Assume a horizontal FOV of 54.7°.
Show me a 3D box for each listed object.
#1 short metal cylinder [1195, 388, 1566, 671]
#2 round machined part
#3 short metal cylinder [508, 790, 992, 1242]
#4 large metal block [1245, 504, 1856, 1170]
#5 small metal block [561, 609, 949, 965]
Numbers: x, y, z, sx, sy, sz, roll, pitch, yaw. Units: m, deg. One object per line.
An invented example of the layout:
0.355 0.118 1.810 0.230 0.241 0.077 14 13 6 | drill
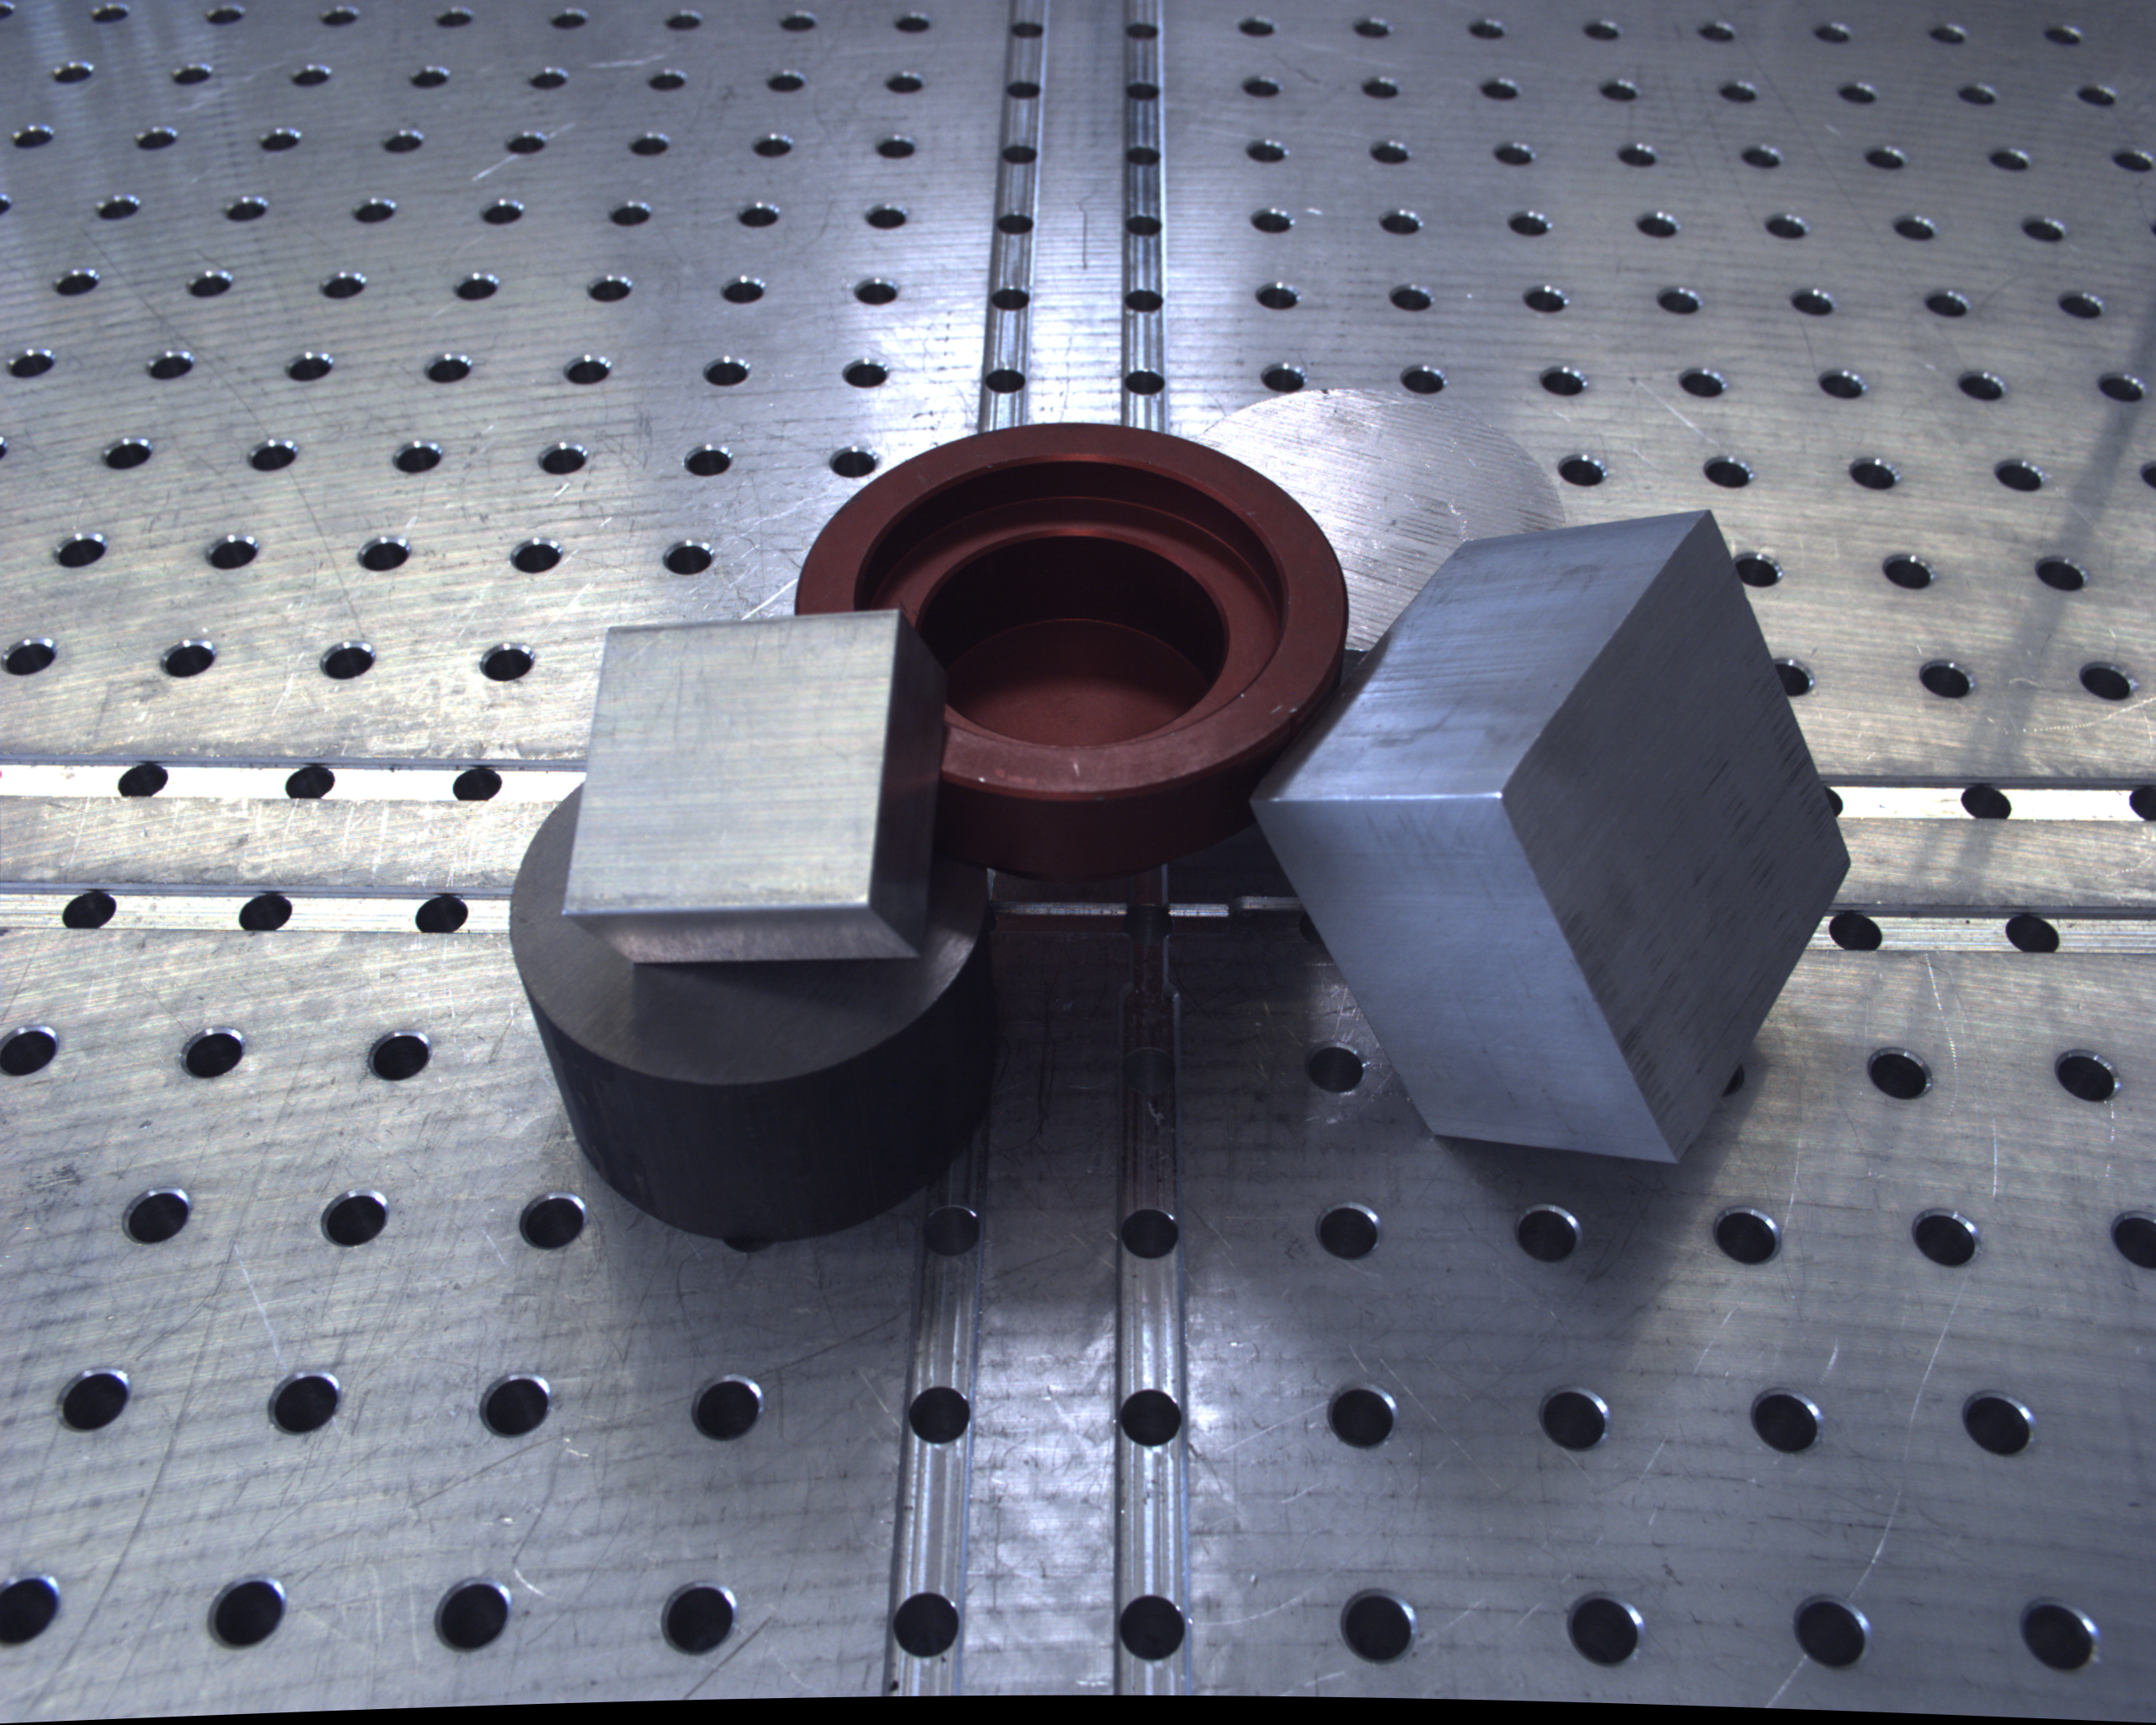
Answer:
0.057 -0.054 0.437 0.081 0.050 0.080 0 50 0 | short metal cylinder
-0.001 -0.035 0.388 0.099 0.042 0.098 0 50 0 | round machined part
-0.056 0.020 0.373 0.081 0.050 0.080 0 50 0 | short metal cylinder
0.086 -0.005 0.368 0.050 0.080 0.080 0 39 47 | large metal block
-0.051 -0.011 0.335 0.050 0.025 0.050 -2 68 14 | small metal block
